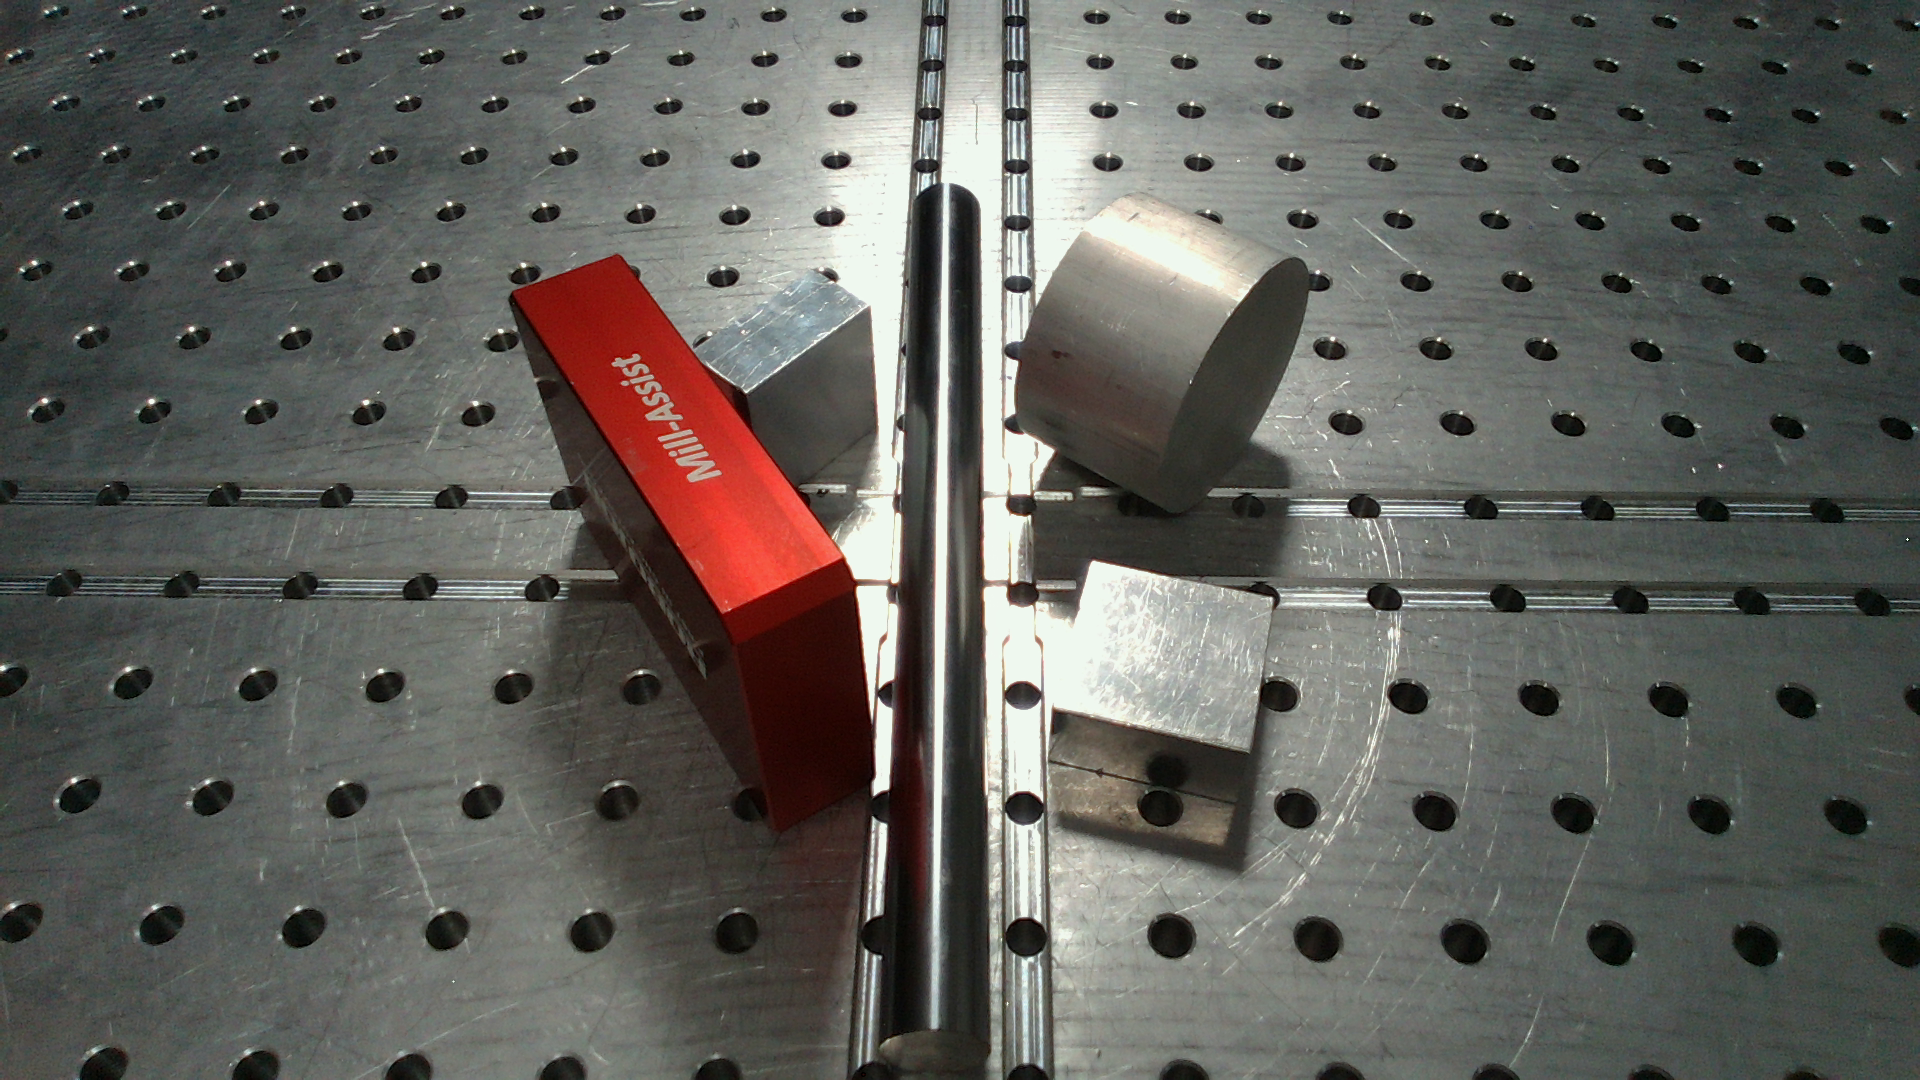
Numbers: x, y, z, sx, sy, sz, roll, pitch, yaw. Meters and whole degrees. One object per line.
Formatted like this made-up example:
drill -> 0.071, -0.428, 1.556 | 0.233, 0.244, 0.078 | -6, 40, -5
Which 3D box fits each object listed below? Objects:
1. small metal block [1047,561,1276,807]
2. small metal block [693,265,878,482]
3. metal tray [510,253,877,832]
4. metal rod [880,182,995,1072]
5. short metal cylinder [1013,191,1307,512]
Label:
small metal block -> 0.053, 0.037, 0.364 | 0.050, 0.025, 0.050 | 12, 51, 10
small metal block -> -0.052, -0.046, 0.416 | 0.025, 0.050, 0.050 | 34, 58, 25
metal tray -> -0.068, -0.001, 0.352 | 0.030, 0.090, 0.130 | -26, 55, -20
metal rod -> -0.005, -0.003, 0.397 | 0.025, 0.025, 0.300 | 0, 50, 0
short metal cylinder -> 0.059, -0.055, 0.405 | 0.050, 0.080, 0.080 | 30, 56, 23
